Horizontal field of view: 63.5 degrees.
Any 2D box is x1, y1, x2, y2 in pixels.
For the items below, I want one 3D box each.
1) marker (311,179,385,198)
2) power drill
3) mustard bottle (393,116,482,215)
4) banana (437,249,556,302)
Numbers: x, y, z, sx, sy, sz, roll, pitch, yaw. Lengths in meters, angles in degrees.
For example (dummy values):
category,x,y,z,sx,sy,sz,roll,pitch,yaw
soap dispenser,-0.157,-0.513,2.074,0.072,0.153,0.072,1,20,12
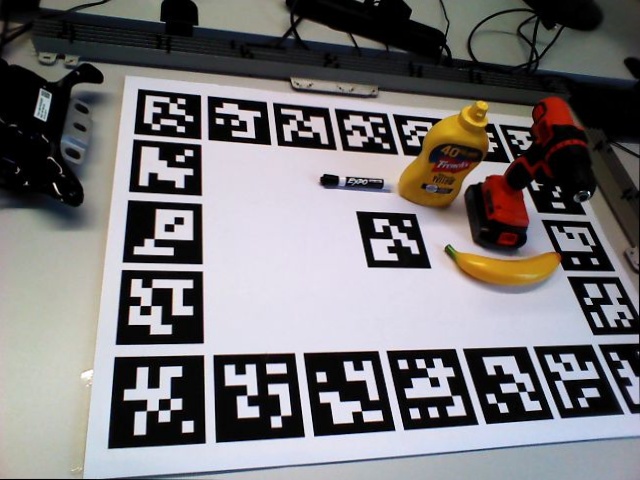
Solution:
category,x,y,z,sx,sy,sz,roll,pitch,yaw
marker,0.045,-0.083,0.833,0.121,0.020,0.019,4,58,-13
power drill,0.302,-0.065,0.768,0.057,0.188,0.183,15,52,-9
mustard bottle,0.189,-0.115,0.789,0.096,0.193,0.058,13,55,-10
banana,0.277,0.060,0.798,0.197,0.039,0.074,9,57,-9
